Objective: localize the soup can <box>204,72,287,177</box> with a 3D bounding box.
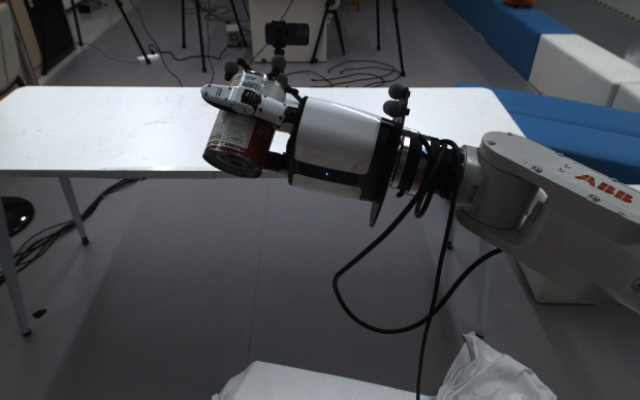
[{"bbox_3d":[-0.081,-0.084,0.545,0.067,0.067,0.101,11,72,13],"label":"soup can"}]
